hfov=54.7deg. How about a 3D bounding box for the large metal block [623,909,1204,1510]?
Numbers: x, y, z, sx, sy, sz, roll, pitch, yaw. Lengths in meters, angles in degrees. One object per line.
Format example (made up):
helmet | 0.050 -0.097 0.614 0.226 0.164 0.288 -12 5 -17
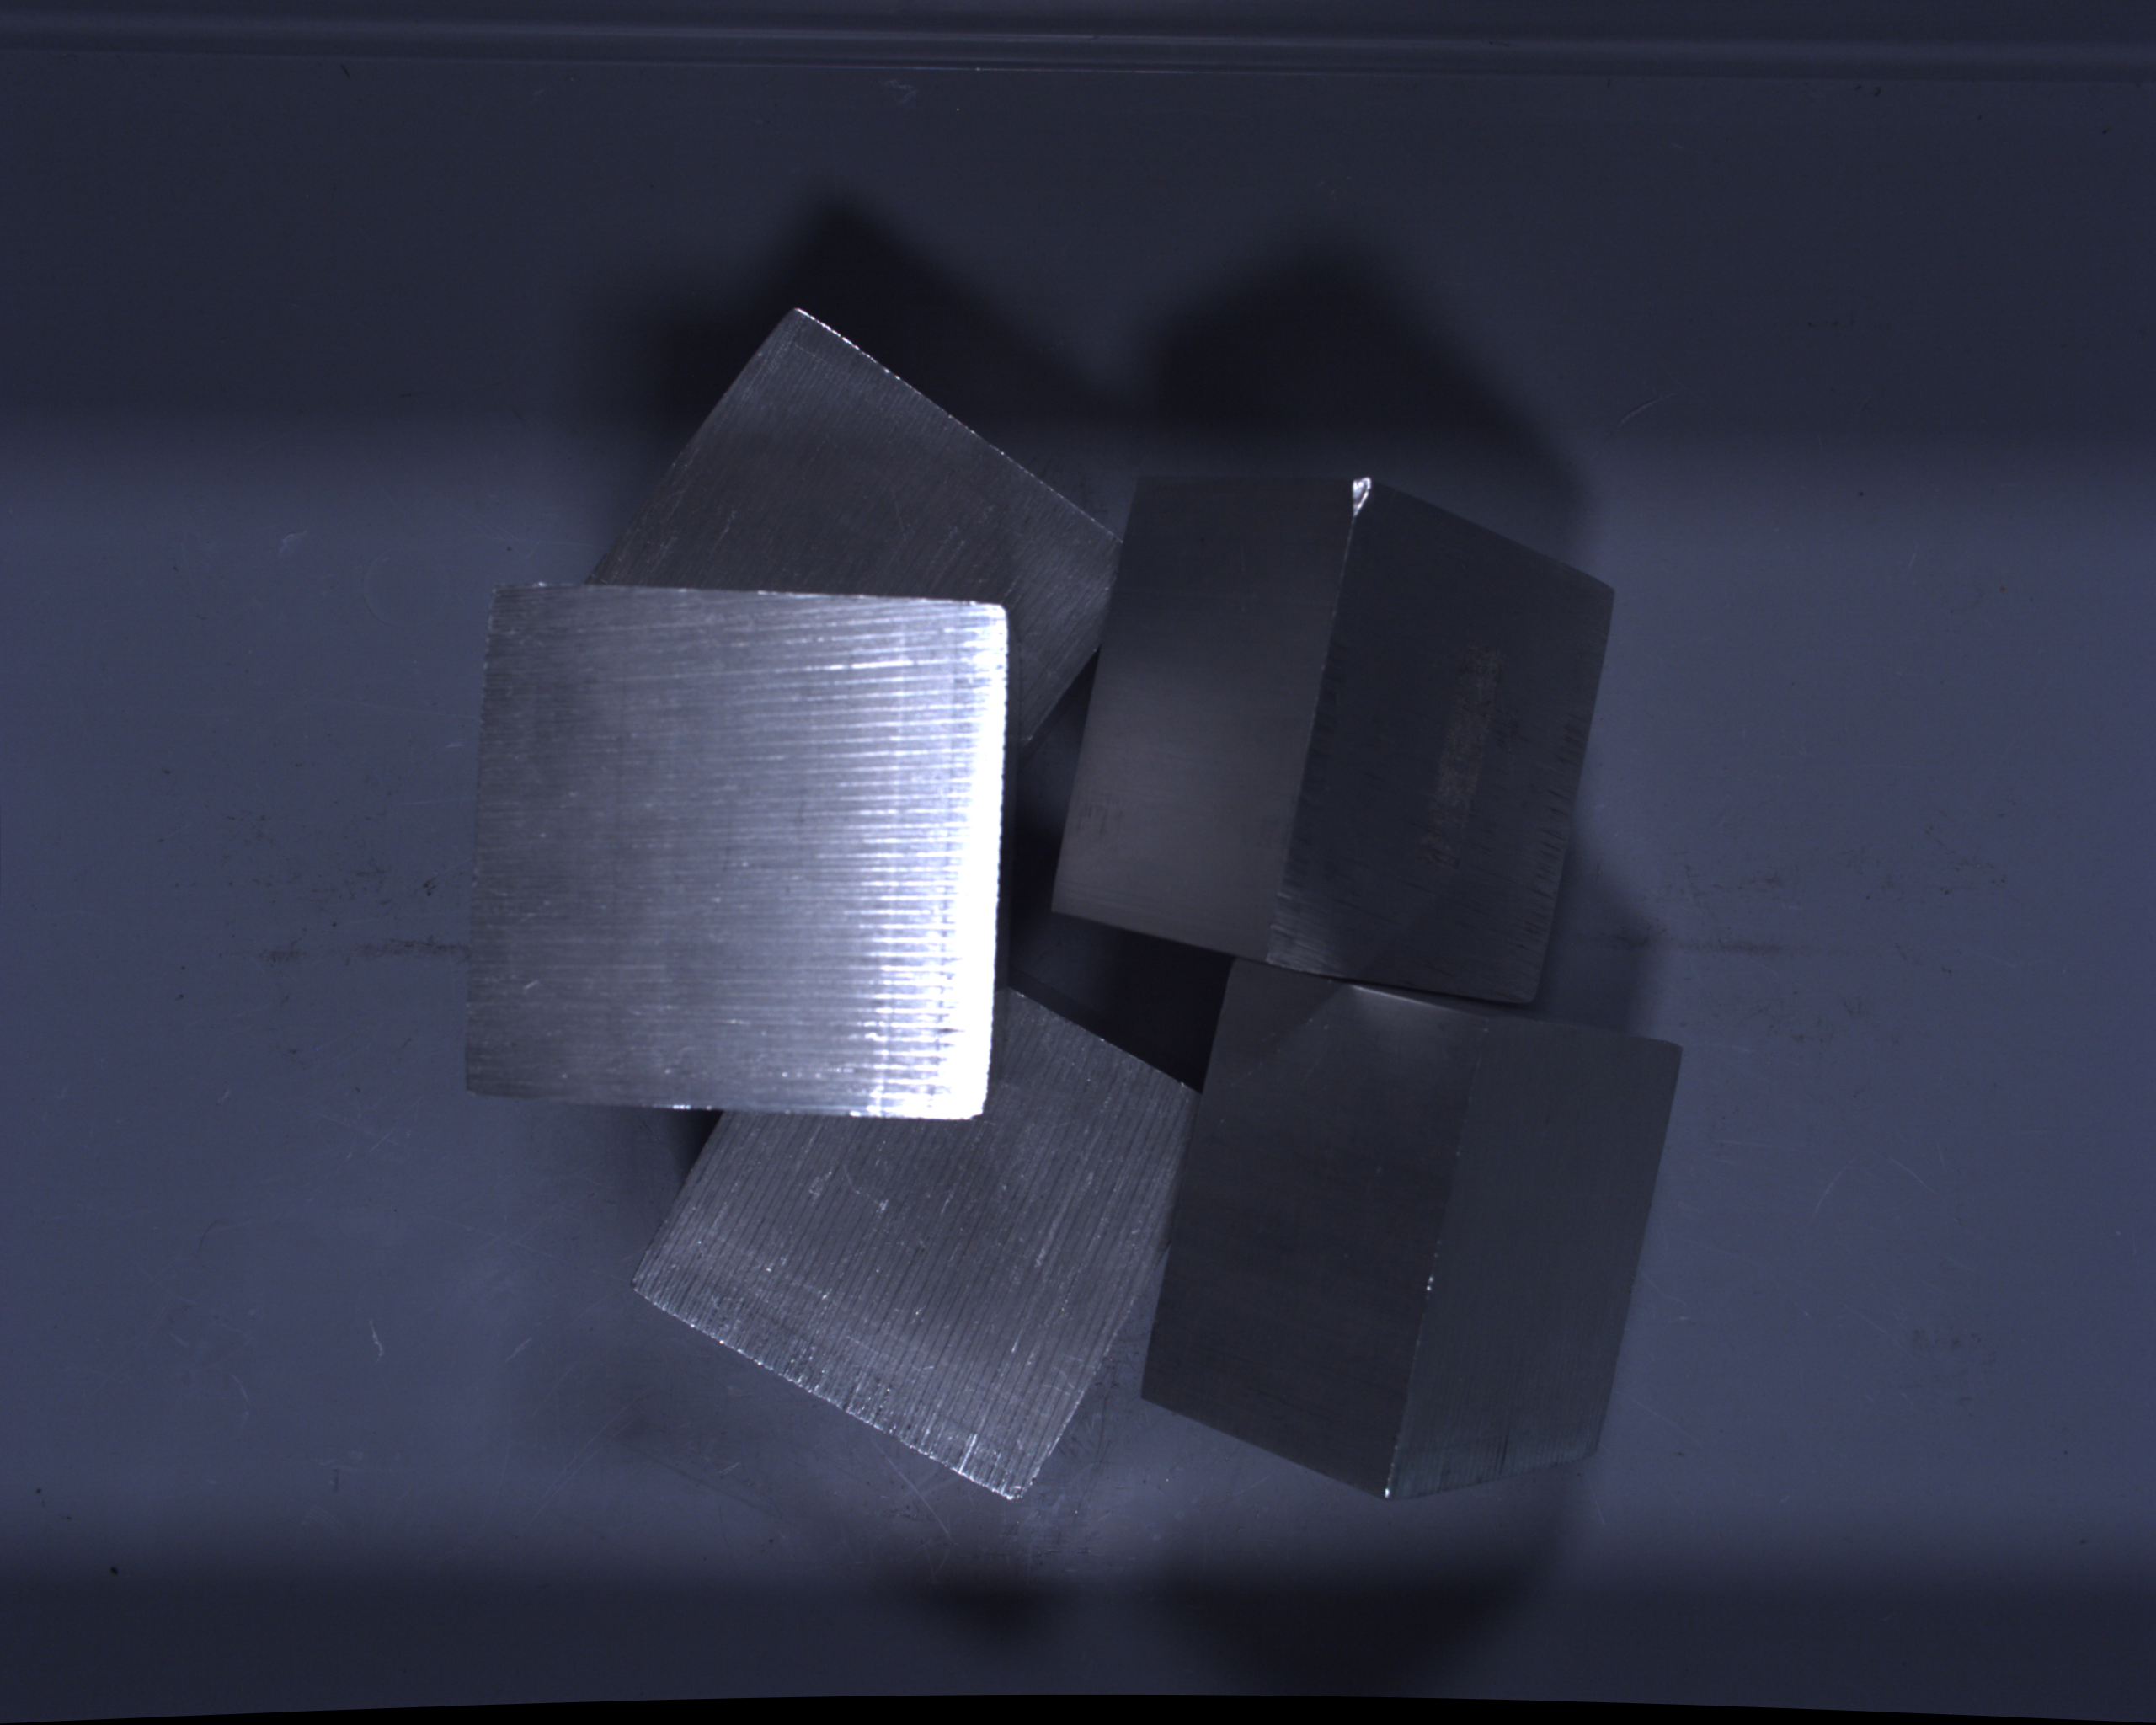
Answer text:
large metal block | -0.026 0.060 0.394 0.080 0.050 0.080 30 90 -1

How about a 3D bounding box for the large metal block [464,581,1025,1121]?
large metal block | -0.052 -0.002 0.345 0.081 0.050 0.079 3 89 1

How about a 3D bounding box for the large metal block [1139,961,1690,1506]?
large metal block | 0.063 0.064 0.376 0.050 0.080 0.080 12 90 39

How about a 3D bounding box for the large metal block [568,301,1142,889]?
large metal block | -0.042 -0.045 0.397 0.080 0.050 0.080 36 90 -1

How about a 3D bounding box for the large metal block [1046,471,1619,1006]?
large metal block | 0.048 -0.021 0.377 0.081 0.050 0.080 11 90 -45
